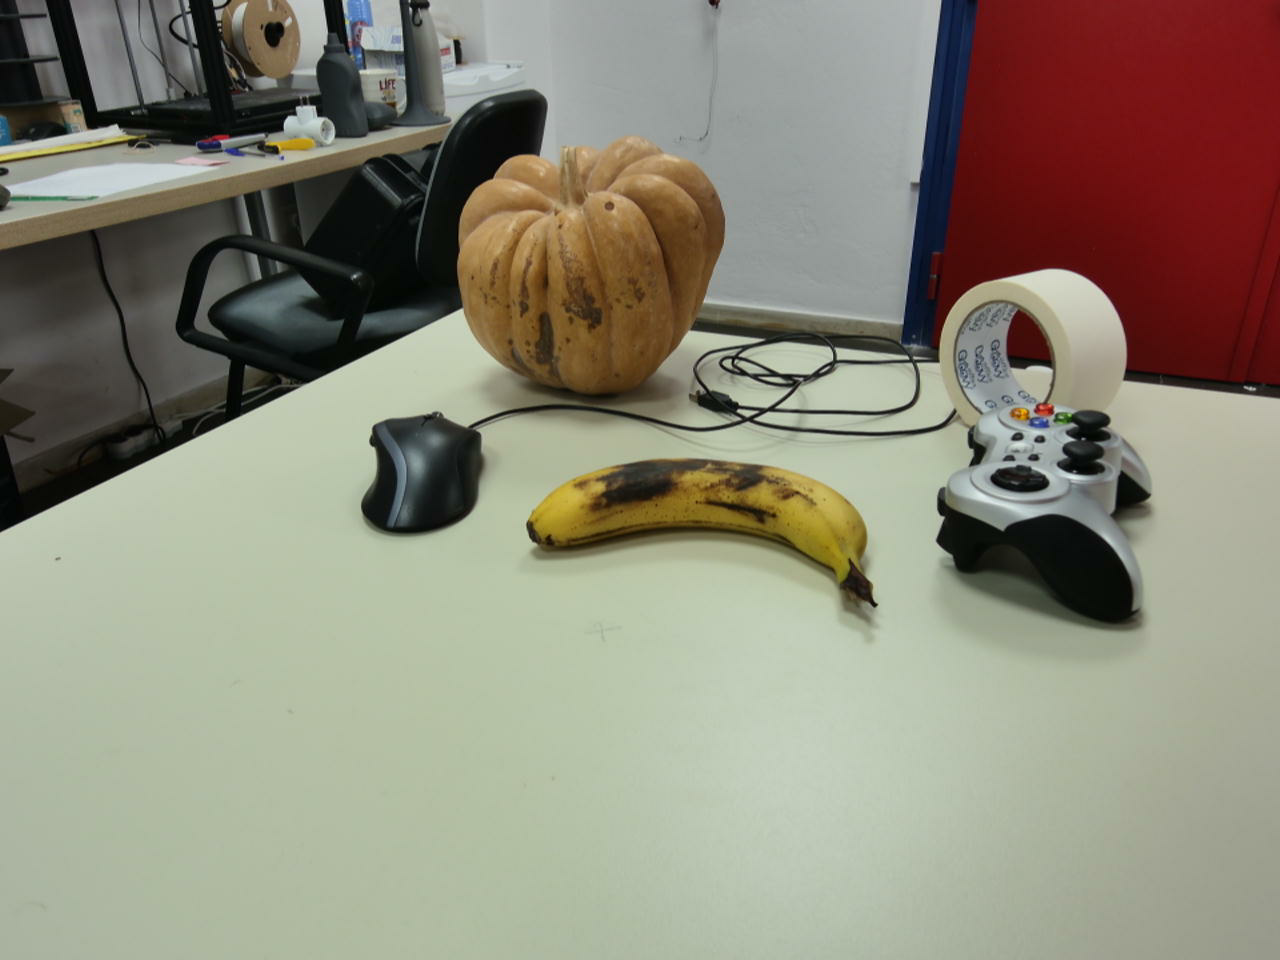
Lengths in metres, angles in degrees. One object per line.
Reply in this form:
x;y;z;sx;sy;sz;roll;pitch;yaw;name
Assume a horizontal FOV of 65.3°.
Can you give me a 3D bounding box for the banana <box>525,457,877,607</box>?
0.040;0.019;0.534;0.187;0.039;0.094;10;27;21;banana
